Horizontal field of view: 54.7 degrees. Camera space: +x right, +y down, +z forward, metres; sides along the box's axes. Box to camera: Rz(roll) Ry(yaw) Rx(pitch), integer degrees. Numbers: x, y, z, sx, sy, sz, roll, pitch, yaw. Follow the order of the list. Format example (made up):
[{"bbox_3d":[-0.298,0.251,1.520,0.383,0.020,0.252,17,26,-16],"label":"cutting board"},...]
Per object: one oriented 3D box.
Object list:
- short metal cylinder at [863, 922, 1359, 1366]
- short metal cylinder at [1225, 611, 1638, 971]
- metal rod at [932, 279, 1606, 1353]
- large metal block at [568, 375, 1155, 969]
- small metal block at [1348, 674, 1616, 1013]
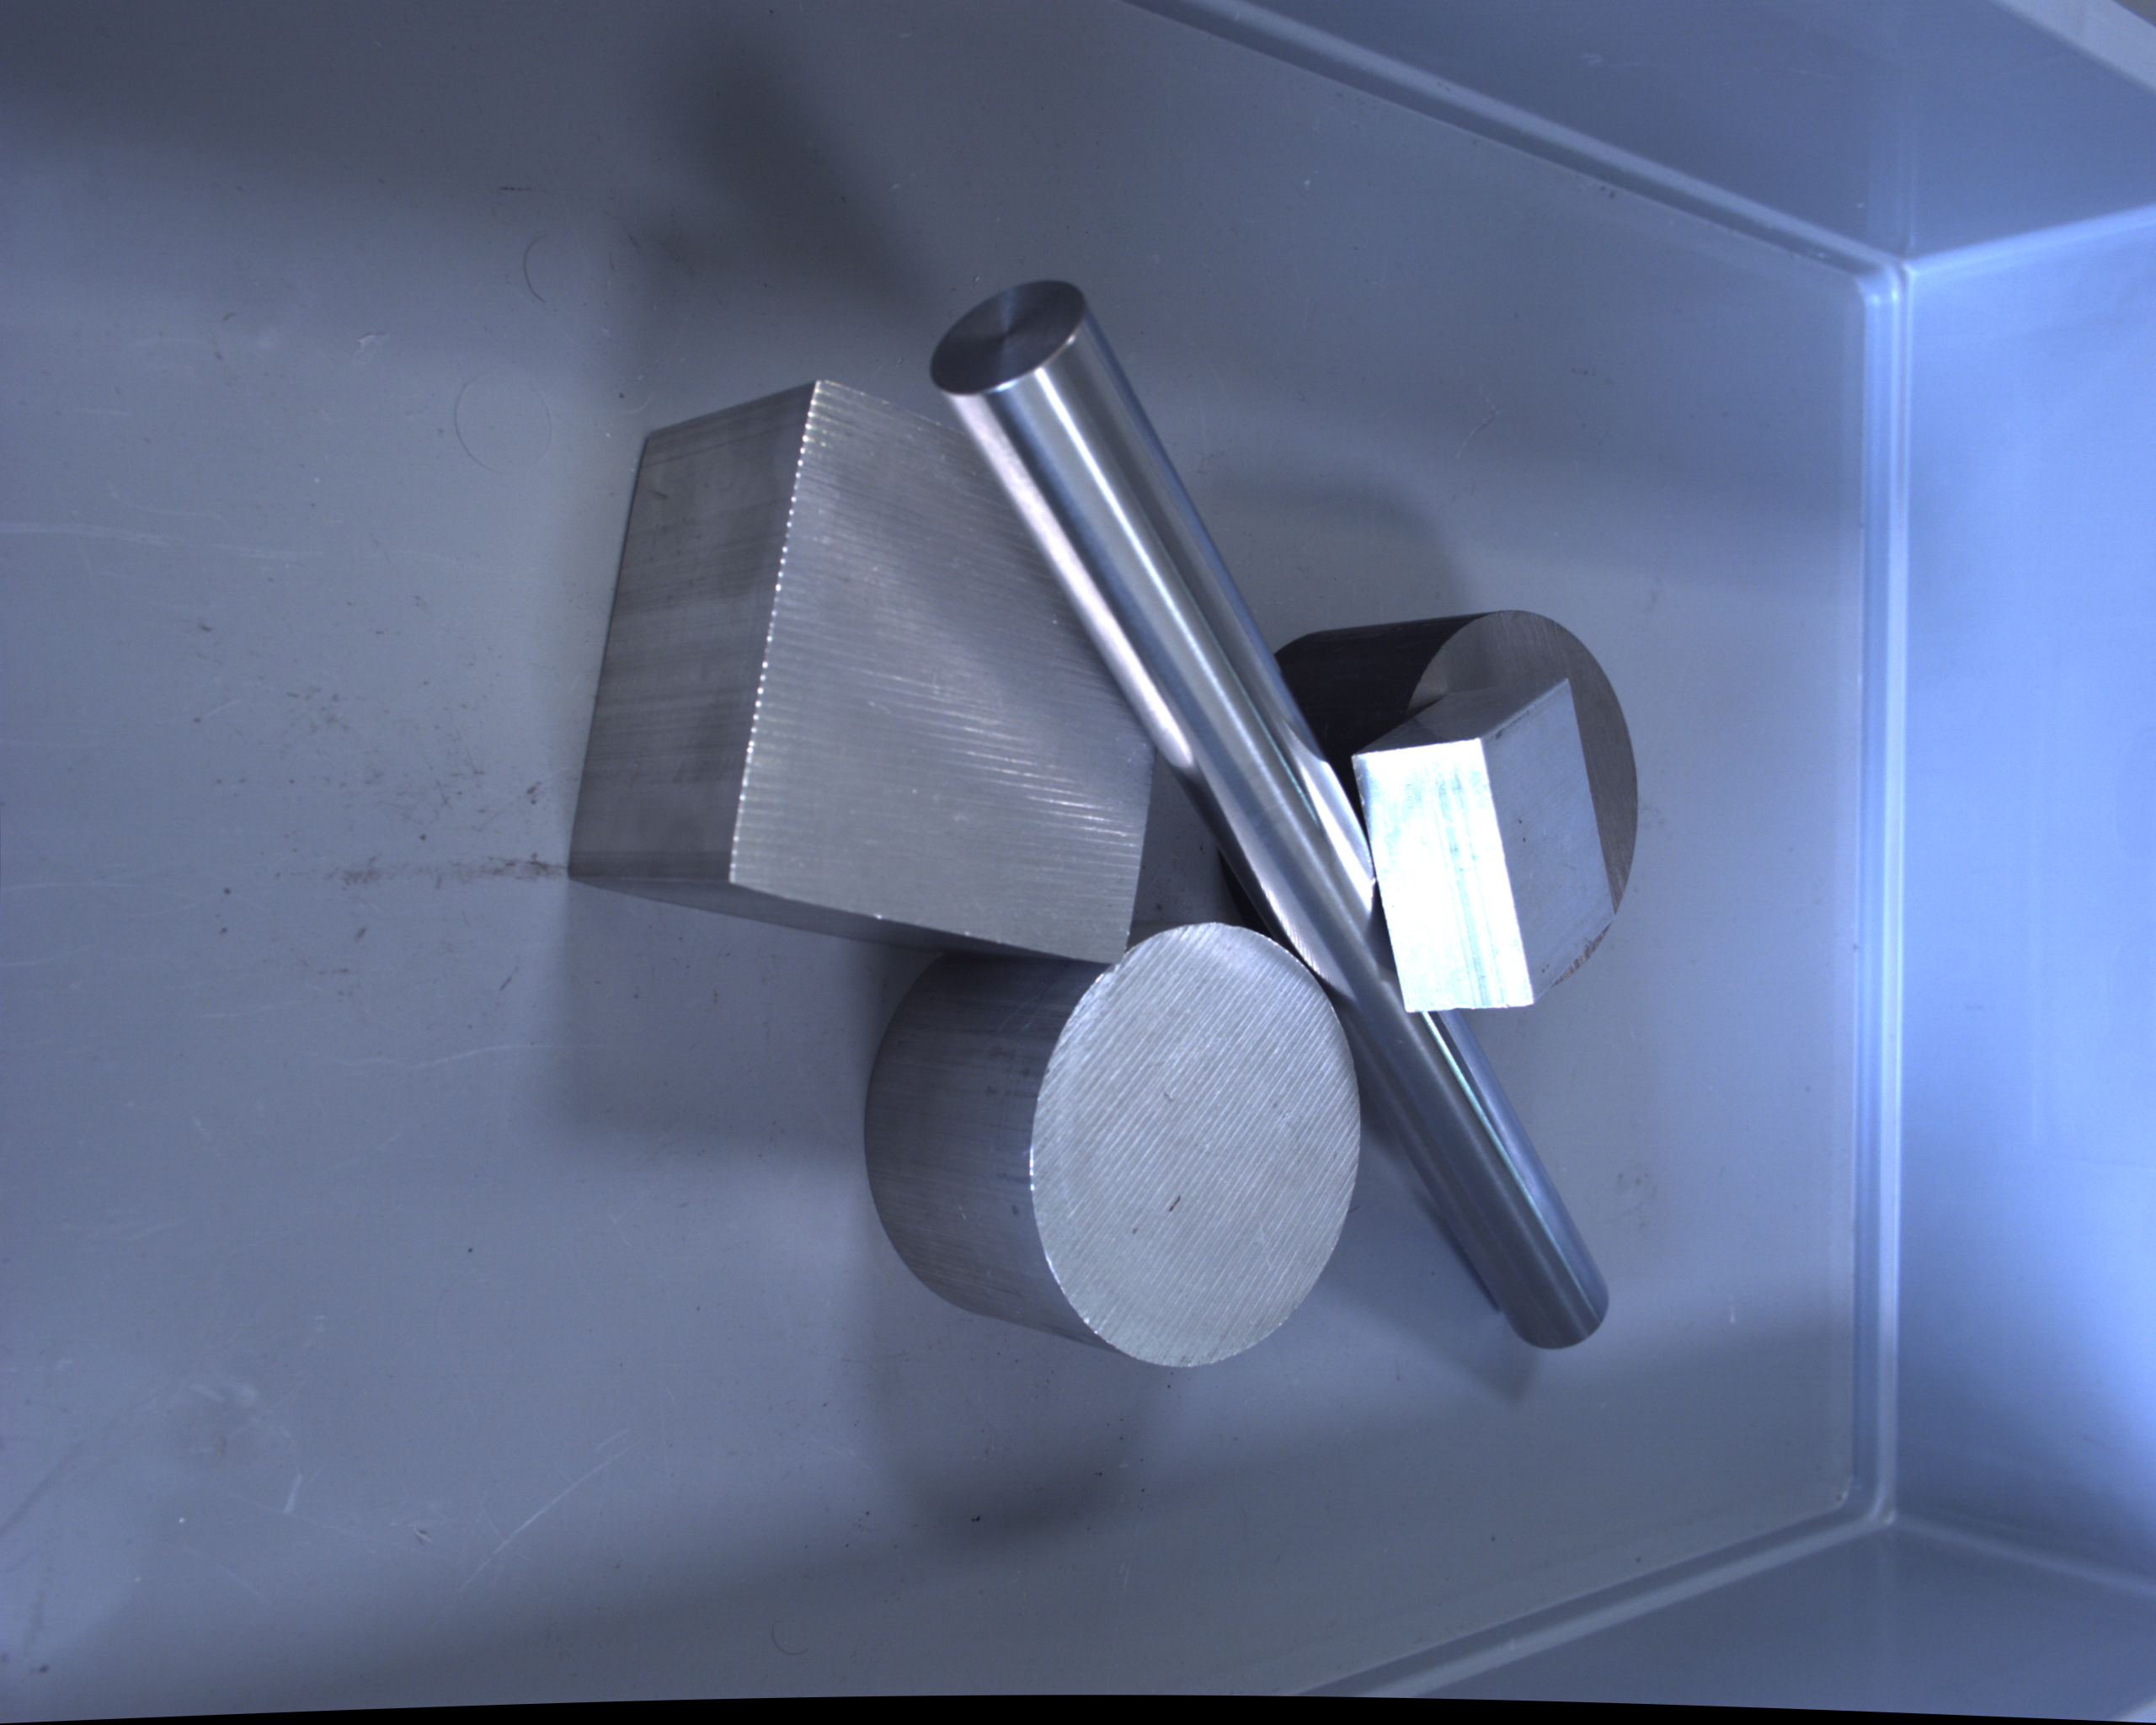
[{"bbox_3d":[0.007,0.050,0.394,0.081,0.050,0.079,0,90,-40],"label":"short metal cylinder"},{"bbox_3d":[0.076,-0.013,0.453,0.081,0.050,0.079,0,90,-40],"label":"short metal cylinder"},{"bbox_3d":[0.053,0.015,0.403,0.025,0.025,0.300,-58,137,-24],"label":"metal rod"},{"bbox_3d":[-0.033,-0.028,0.359,0.081,0.050,0.080,14,81,-39],"label":"large metal block"},{"bbox_3d":[0.078,-0.004,0.396,0.050,0.025,0.050,-31,110,-55],"label":"small metal block"}]
